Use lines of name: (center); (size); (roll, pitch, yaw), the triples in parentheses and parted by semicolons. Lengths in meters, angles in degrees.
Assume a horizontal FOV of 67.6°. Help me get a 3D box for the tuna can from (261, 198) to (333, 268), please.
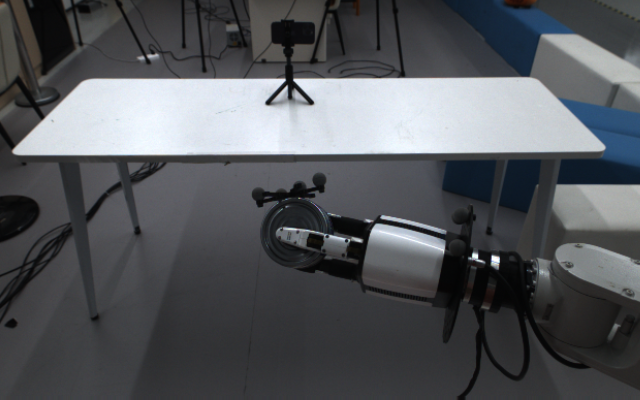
tuna can: (-0.023, 0.046, 0.585); (0.085, 0.085, 0.034); (12, -6, 14)
